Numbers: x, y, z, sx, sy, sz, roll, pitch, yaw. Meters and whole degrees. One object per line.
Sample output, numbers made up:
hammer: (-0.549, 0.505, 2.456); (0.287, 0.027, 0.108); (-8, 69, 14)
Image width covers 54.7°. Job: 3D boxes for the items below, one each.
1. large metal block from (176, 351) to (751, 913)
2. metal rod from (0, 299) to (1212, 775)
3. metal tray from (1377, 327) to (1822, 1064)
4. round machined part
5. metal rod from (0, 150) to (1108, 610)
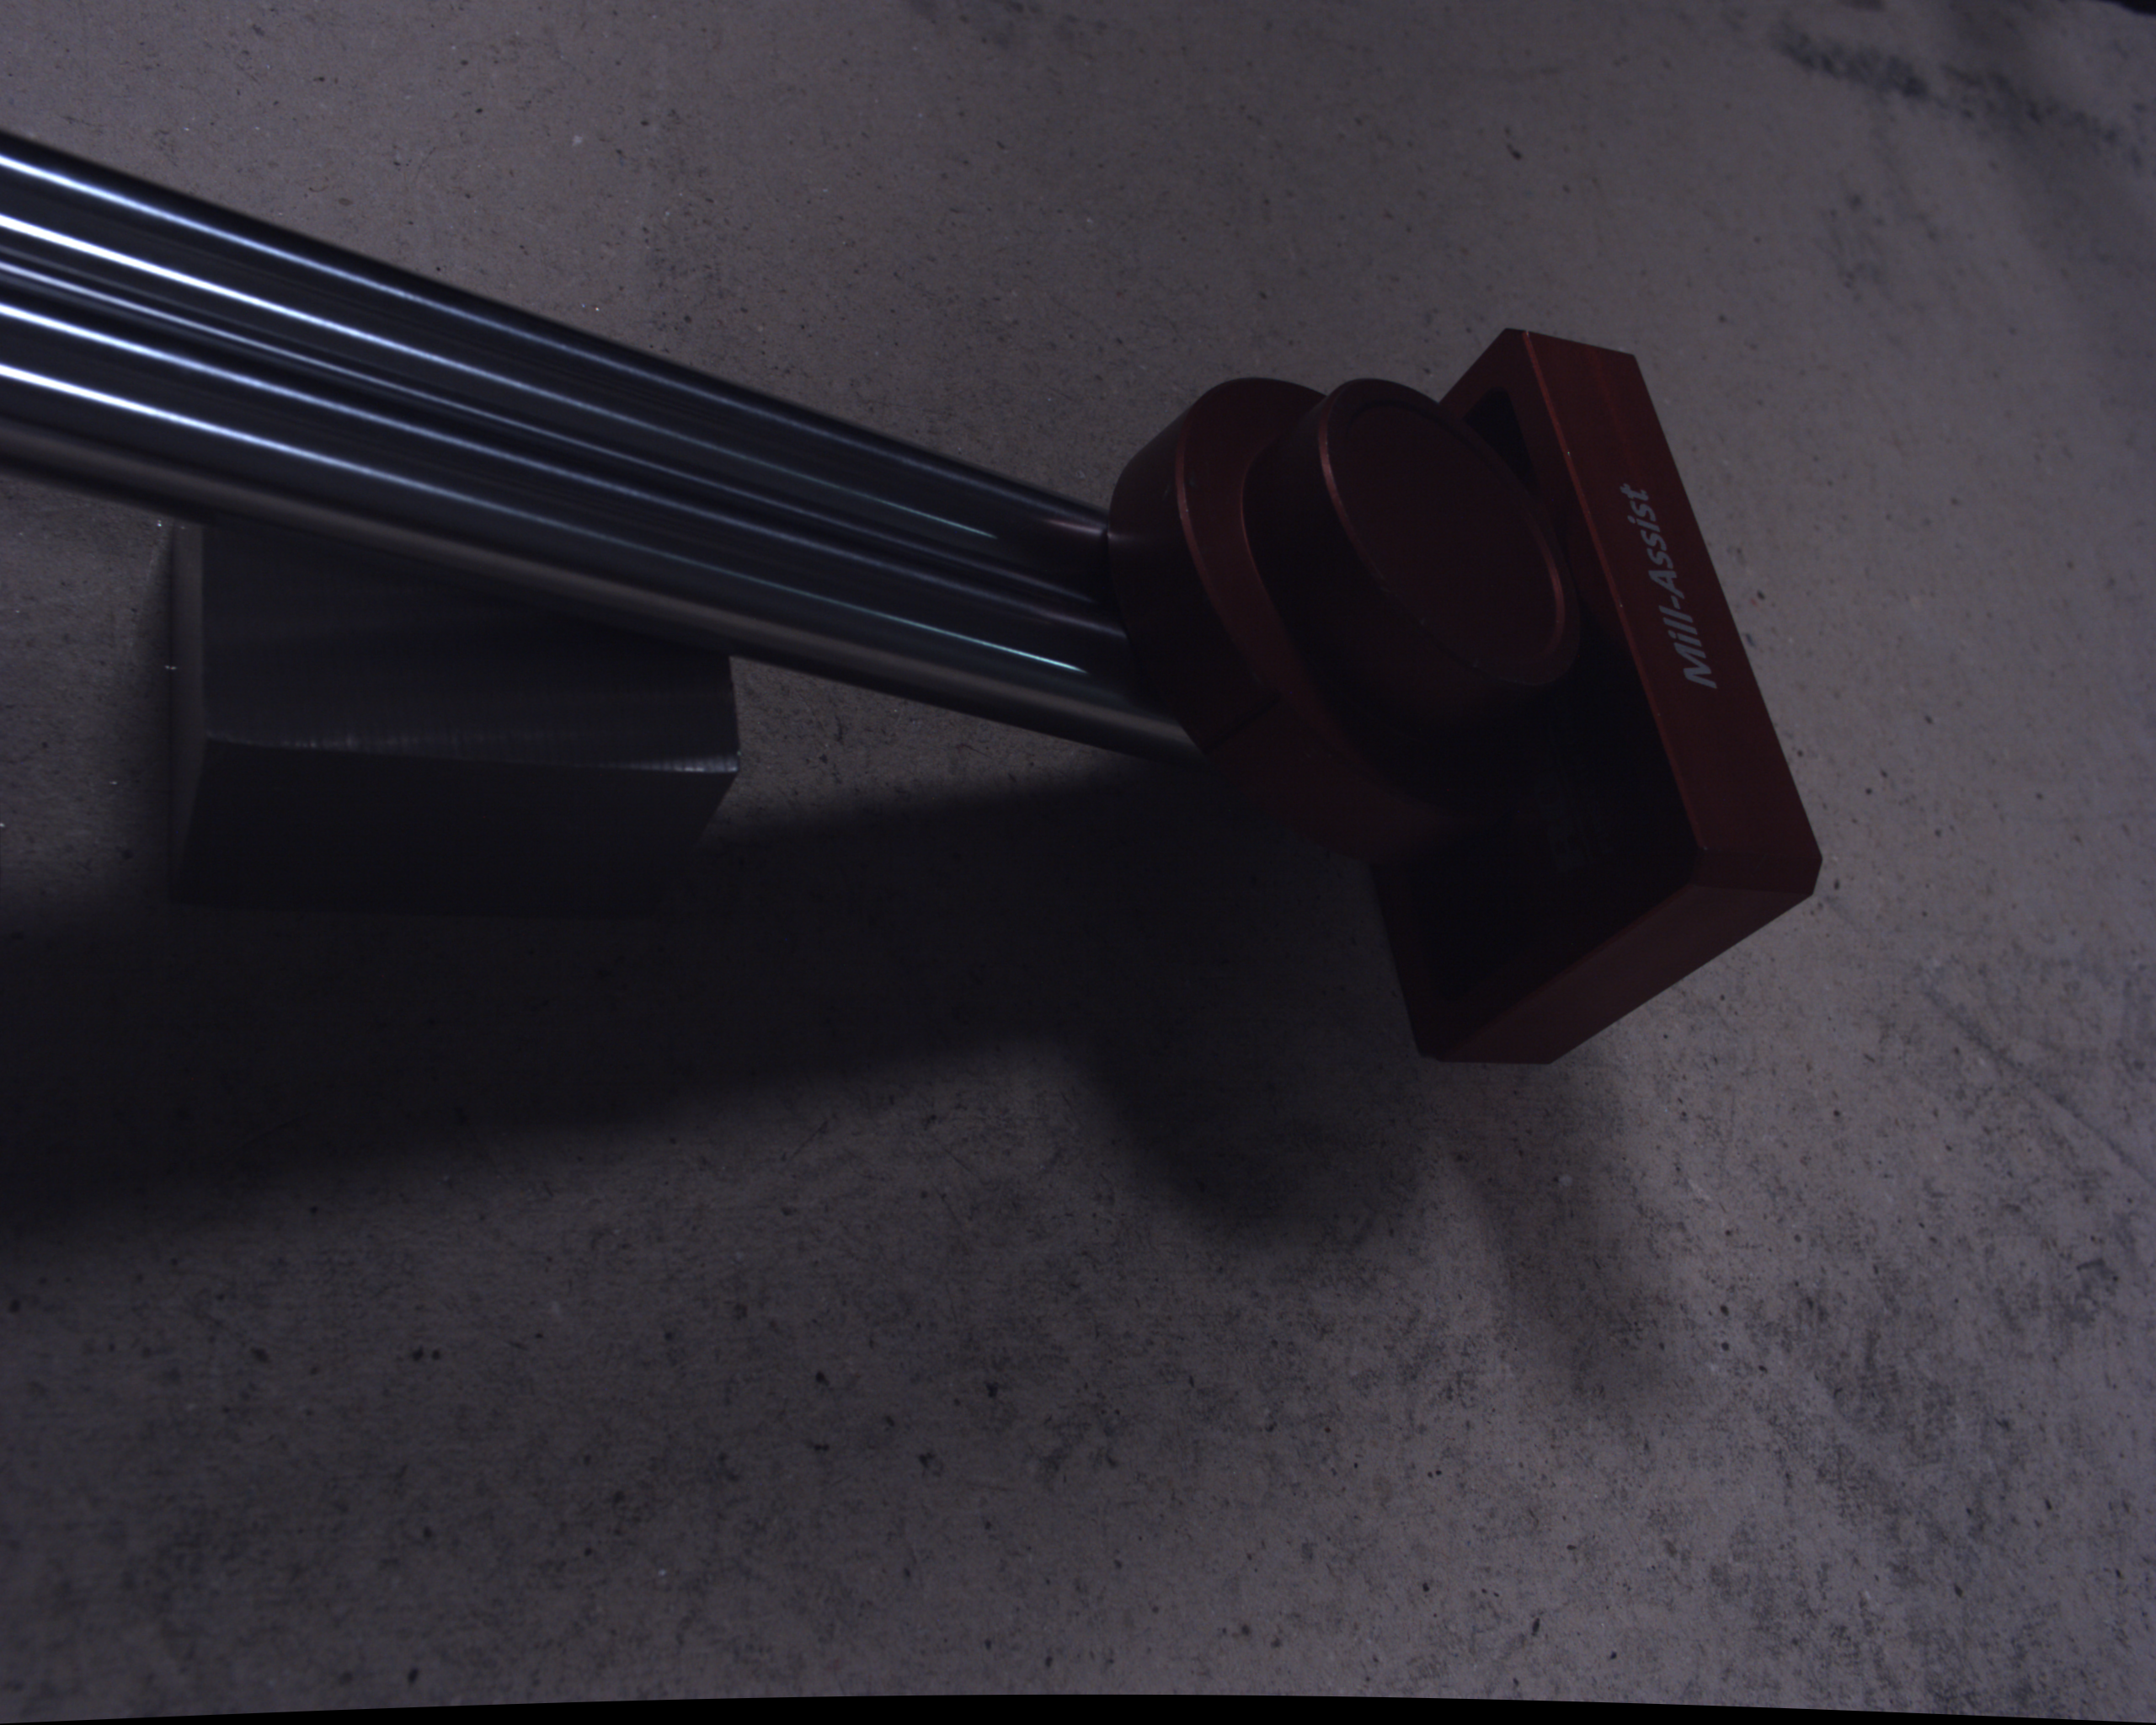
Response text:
large metal block: (-0.106, -0.040, 0.352); (0.081, 0.050, 0.080); (3, 60, -27)
metal rod: (-0.036, -0.041, 0.354); (0.302, 0.025, 0.025); (11, 56, -38)
metal tray: (0.094, -0.033, 0.436); (0.030, 0.090, 0.130); (4, 60, -27)
round machined part: (0.056, -0.052, 0.396); (0.099, 0.042, 0.098); (21, 52, -29)
metal rod: (-0.040, -0.065, 0.366); (0.302, 0.025, 0.025); (10, 57, -38)
